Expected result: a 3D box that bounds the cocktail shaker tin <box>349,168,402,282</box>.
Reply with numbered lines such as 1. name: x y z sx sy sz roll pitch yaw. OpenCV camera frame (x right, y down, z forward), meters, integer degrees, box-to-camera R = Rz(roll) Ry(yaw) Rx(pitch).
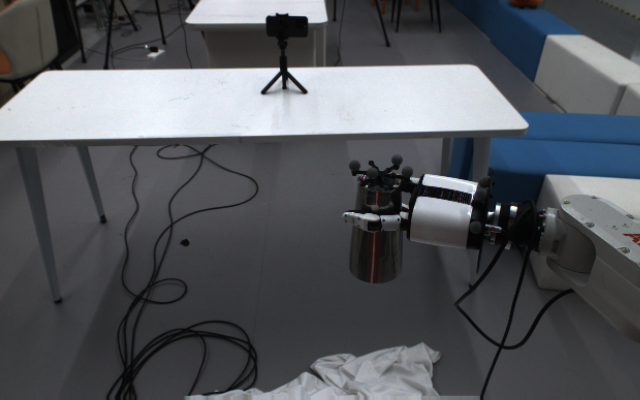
1. cocktail shaker tin: 0.097 0.037 0.788 0.093 0.170 0.093 -1 32 1
